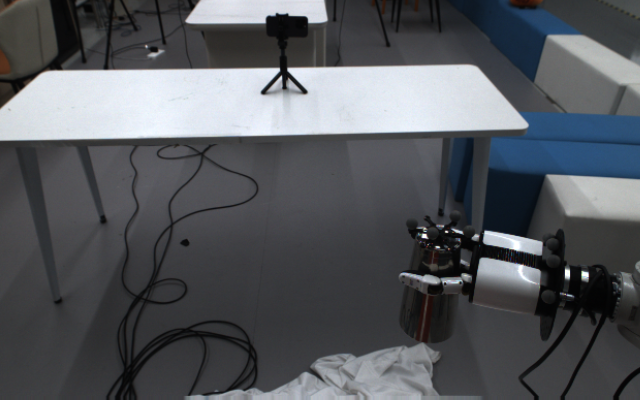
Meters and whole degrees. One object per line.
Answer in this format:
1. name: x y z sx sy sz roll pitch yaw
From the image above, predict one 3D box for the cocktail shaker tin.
1. cocktail shaker tin: 0.178 0.123 0.750 0.093 0.170 0.093 -1 32 1
